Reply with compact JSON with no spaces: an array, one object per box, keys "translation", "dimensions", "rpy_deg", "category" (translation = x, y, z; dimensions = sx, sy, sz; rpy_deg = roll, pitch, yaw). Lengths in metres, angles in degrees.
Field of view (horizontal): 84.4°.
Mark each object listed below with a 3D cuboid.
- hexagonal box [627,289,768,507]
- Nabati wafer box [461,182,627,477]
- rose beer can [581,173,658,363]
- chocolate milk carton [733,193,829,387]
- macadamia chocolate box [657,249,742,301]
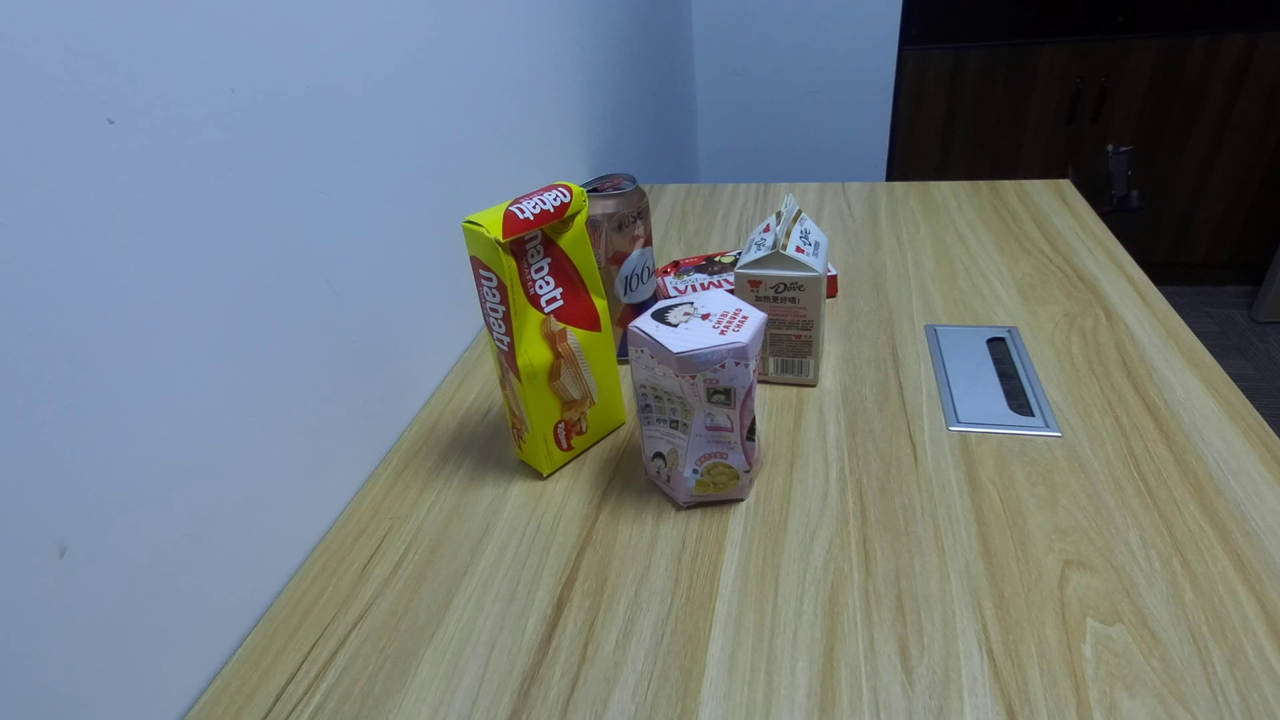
[{"translation":[0.044,0.030,0.495],"dimensions":[0.093,0.135,0.088],"rpy_deg":[-10,33,-7],"category":"hexagonal box"},{"translation":[-0.063,-0.019,0.526],"dimensions":[0.097,0.204,0.042],"rpy_deg":[-30,37,-35],"category":"Nabati wafer box"},{"translation":[-0.020,-0.080,0.647],"dimensions":[0.065,0.167,0.076],"rpy_deg":[19,41,42],"category":"rose beer can"},{"translation":[0.122,-0.061,0.605],"dimensions":[0.074,0.148,0.075],"rpy_deg":[4,33,15],"category":"chocolate milk carton"},{"translation":[0.112,-0.092,0.781],"dimensions":[0.187,0.027,0.102],"rpy_deg":[-6,31,-3],"category":"macadamia chocolate box"}]
